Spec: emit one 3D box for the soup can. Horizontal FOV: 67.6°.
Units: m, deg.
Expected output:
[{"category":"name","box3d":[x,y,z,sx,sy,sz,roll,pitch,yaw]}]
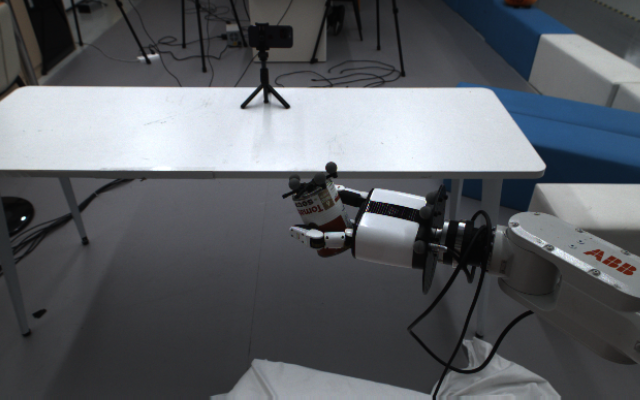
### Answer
[{"category":"soup can","box3d":[0.009,0.026,0.732,0.067,0.101,0.067,-23,16,7]}]
